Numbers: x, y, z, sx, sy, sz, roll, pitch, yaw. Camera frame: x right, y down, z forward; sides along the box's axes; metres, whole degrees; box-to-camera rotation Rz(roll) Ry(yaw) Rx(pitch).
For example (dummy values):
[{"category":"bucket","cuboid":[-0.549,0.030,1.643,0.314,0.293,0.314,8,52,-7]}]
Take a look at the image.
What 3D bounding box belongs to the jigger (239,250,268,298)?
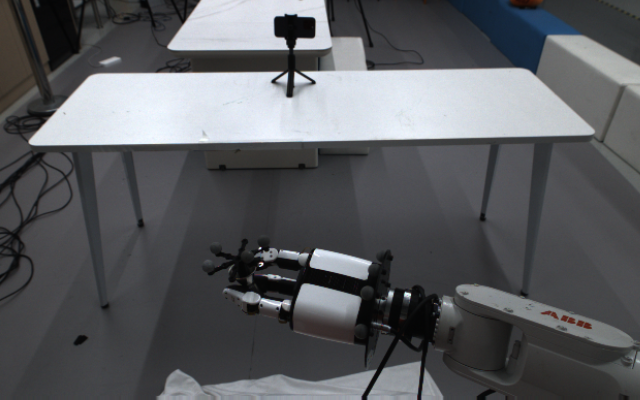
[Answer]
[{"category":"jigger","cuboid":[-0.099,0.123,0.687,0.043,0.071,0.043,-10,32,6]}]
